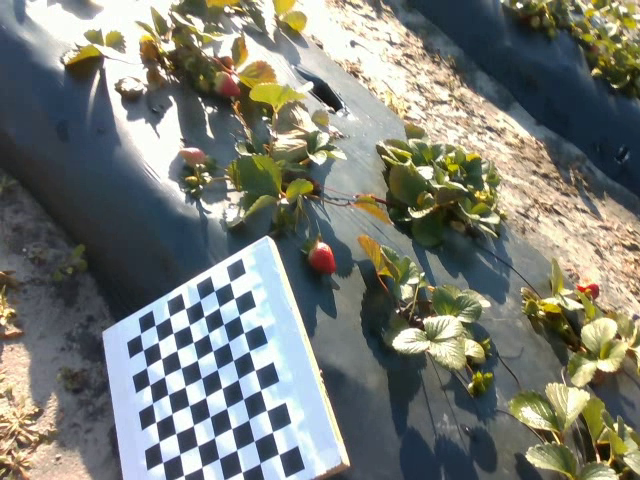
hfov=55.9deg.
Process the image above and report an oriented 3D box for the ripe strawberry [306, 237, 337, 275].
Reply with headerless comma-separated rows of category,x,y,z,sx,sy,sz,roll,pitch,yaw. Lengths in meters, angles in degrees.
ripe strawberry,0.010,0.033,0.878,0.064,0.044,0.043,48,3,30
